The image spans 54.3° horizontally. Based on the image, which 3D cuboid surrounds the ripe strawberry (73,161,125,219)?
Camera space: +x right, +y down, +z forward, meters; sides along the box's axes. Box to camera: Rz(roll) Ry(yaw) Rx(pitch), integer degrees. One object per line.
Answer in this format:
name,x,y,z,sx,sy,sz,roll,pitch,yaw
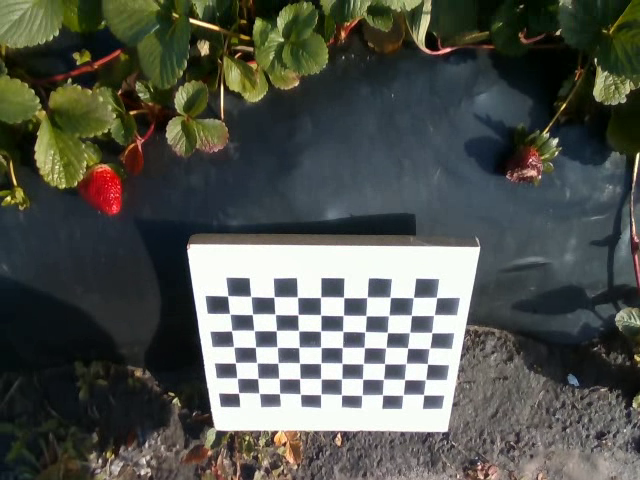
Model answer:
ripe strawberry,-0.201,-0.043,0.569,0.040,0.056,0.040,-45,-22,28
